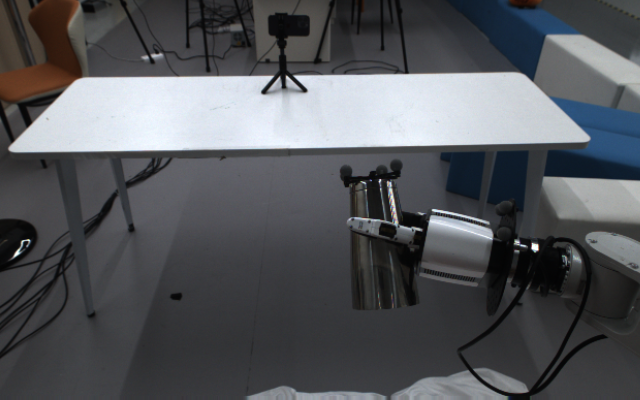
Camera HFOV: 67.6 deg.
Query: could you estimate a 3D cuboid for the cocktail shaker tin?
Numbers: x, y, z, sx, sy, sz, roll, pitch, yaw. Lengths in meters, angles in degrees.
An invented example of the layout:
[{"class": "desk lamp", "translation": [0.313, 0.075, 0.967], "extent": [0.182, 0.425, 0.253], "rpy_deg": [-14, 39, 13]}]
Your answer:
[{"class": "cocktail shaker tin", "translation": [0.083, 0.061, 0.673], "extent": [0.093, 0.170, 0.093], "rpy_deg": [-6, -7, -1]}]
